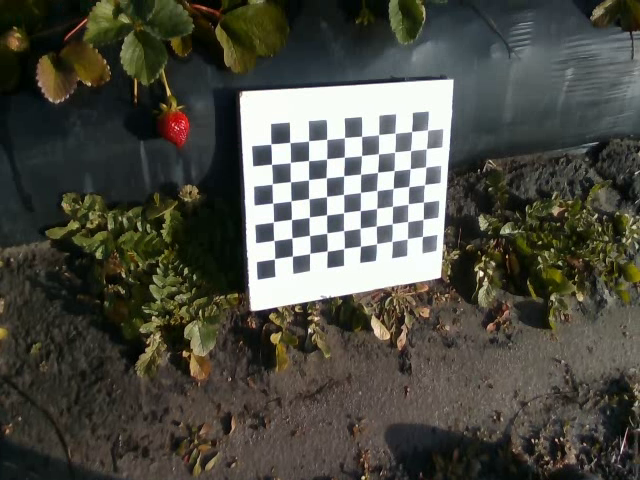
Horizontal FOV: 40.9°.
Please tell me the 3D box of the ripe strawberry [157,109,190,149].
[{"bbox_3d":[-0.148,-0.114,0.910,0.040,0.044,0.036,-27,14,-15],"label":"ripe strawberry"}]
